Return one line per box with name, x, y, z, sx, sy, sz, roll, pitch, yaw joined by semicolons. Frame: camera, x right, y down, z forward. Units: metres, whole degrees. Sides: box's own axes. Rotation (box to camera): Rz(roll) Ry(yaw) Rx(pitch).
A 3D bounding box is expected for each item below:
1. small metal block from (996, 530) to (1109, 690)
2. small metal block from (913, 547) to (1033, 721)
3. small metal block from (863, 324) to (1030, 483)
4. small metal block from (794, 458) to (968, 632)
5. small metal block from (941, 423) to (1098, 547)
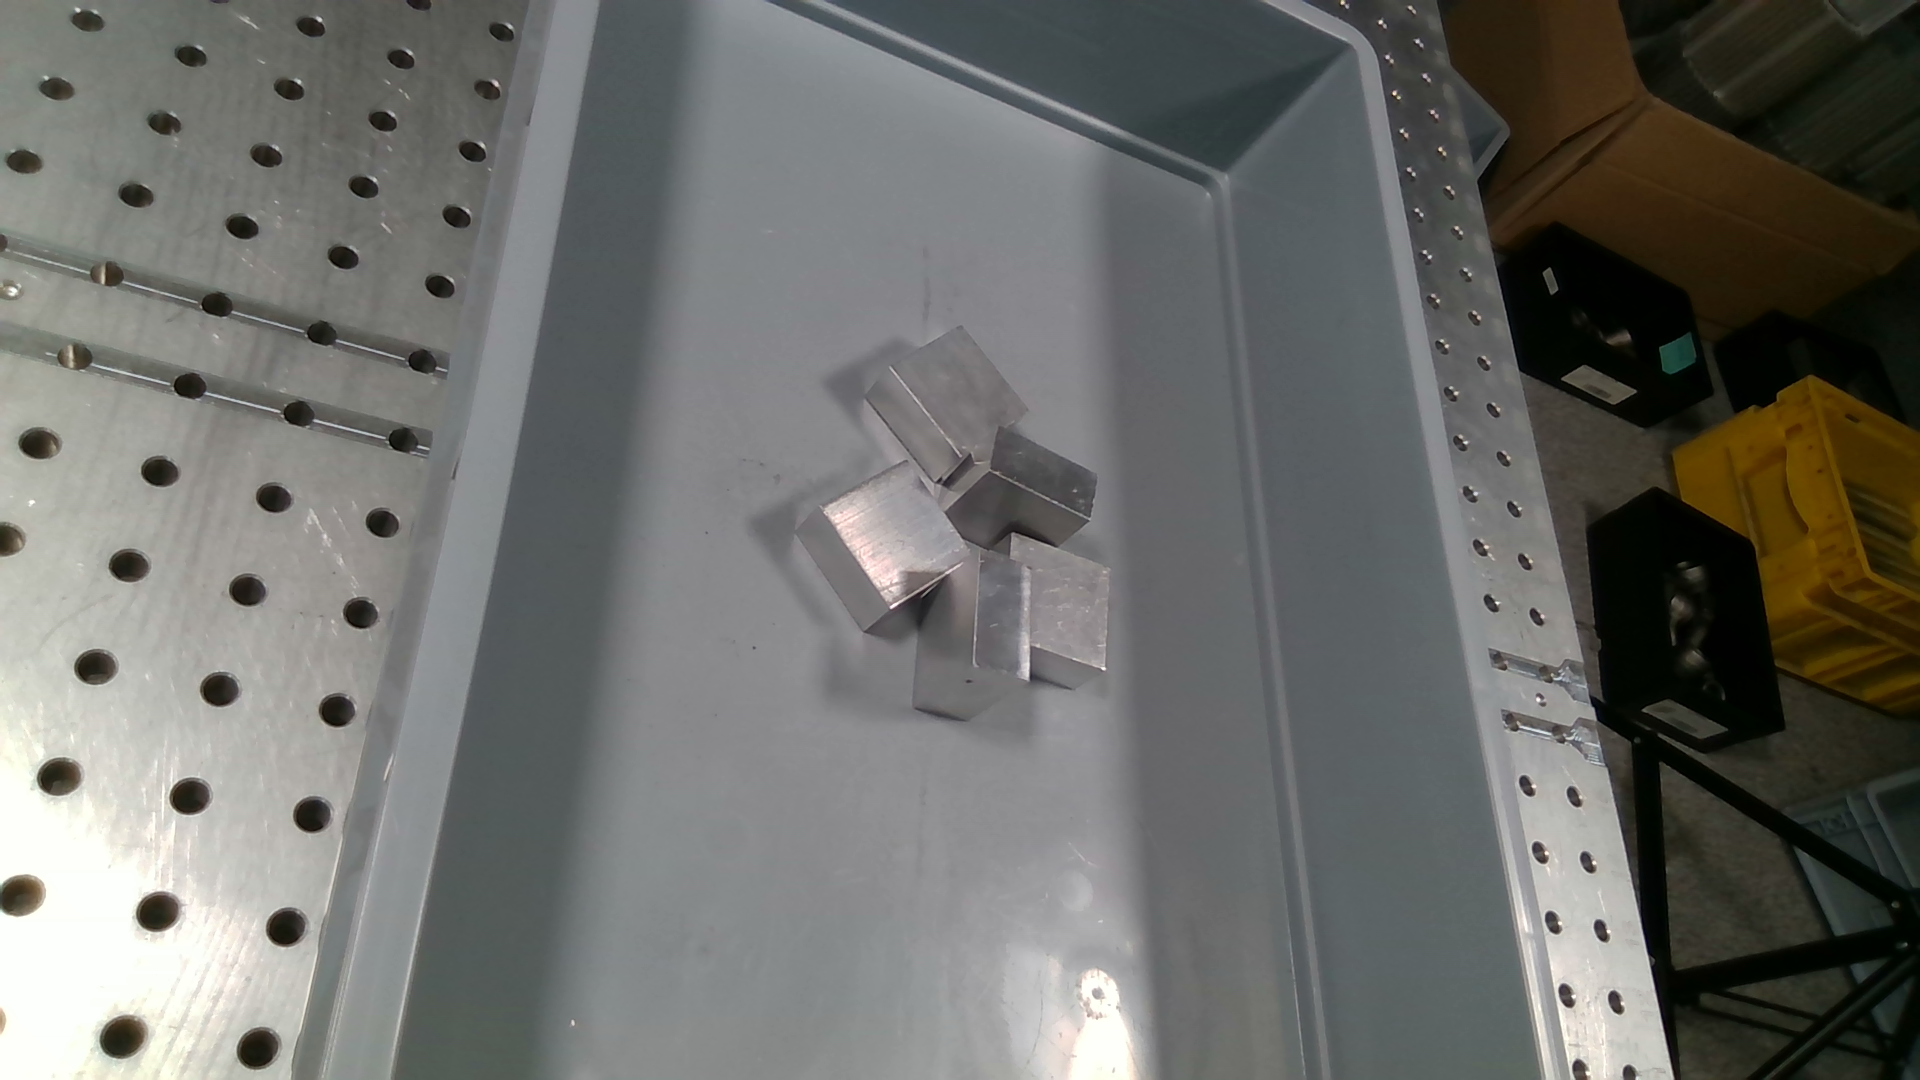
small metal block;0.035;0.030;0.590;0.050;0.025;0.050;20;56;-21
small metal block;0.005;0.038;0.550;0.025;0.050;0.050;17;57;-23
small metal block;-0.006;-0.061;0.614;0.050;0.025;0.050;51;51;2
small metal block;-0.031;0.002;0.564;0.050;0.025;0.050;-31;84;-39
small metal block;0.023;-0.018;0.591;0.050;0.050;0.025;25;54;-18
